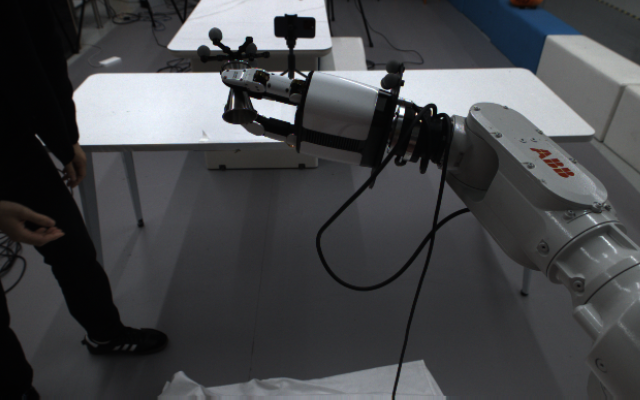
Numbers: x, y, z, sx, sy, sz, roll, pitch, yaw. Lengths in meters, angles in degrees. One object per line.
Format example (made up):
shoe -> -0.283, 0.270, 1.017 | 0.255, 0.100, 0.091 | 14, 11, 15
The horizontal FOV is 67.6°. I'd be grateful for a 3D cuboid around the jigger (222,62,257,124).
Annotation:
jigger -> -0.102, -0.137, 0.610 | 0.043, 0.043, 0.071 | -4, 75, -9
